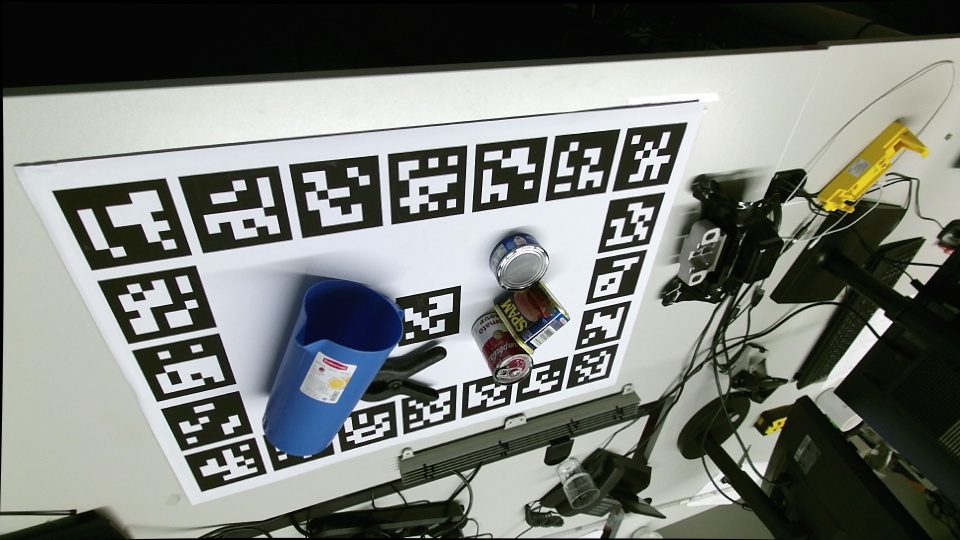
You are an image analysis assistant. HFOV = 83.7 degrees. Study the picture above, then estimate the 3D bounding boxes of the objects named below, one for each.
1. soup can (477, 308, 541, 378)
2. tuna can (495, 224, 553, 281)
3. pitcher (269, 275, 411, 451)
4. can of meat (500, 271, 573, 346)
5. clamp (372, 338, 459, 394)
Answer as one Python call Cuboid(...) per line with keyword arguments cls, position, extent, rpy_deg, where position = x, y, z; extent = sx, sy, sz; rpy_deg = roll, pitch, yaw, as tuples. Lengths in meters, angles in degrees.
Cuboid(cls="soup can", position=(0.046, 0.117, 0.874), extent=(0.068, 0.101, 0.068), rpy_deg=(-14, 127, -20))
Cuboid(cls="tuna can", position=(0.066, -0.027, 0.820), extent=(0.086, 0.033, 0.086), rpy_deg=(-13, 127, -18))
Cuboid(cls="pitcher", position=(-0.196, 0.134, 0.742), extent=(0.189, 0.133, 0.242), rpy_deg=(-8, 138, -49))
Cuboid(cls="can of meat", position=(0.094, 0.055, 0.846), extent=(0.084, 0.101, 0.058), rpy_deg=(-41, 130, 2))
Cuboid(cls="clamp", position=(-0.118, 0.170, 0.888), extent=(0.166, 0.036, 0.122), rpy_deg=(-7, 131, -17))
